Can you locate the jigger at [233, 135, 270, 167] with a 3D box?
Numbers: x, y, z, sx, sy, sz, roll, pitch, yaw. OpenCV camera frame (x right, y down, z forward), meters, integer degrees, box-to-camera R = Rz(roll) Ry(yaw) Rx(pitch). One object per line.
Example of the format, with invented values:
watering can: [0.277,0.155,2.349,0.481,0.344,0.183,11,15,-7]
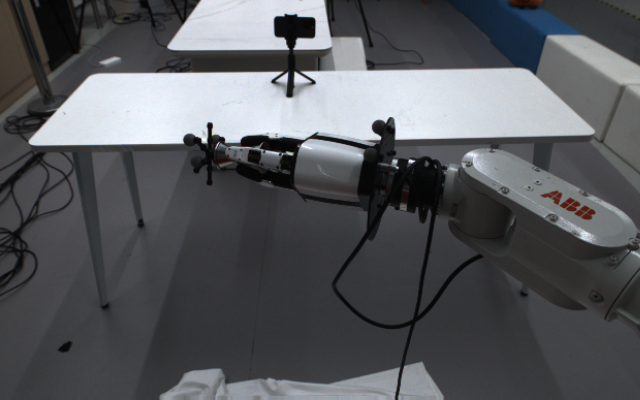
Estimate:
jigger: [-0.104,-0.066,0.677,0.071,0.043,0.043,4,34,16]
